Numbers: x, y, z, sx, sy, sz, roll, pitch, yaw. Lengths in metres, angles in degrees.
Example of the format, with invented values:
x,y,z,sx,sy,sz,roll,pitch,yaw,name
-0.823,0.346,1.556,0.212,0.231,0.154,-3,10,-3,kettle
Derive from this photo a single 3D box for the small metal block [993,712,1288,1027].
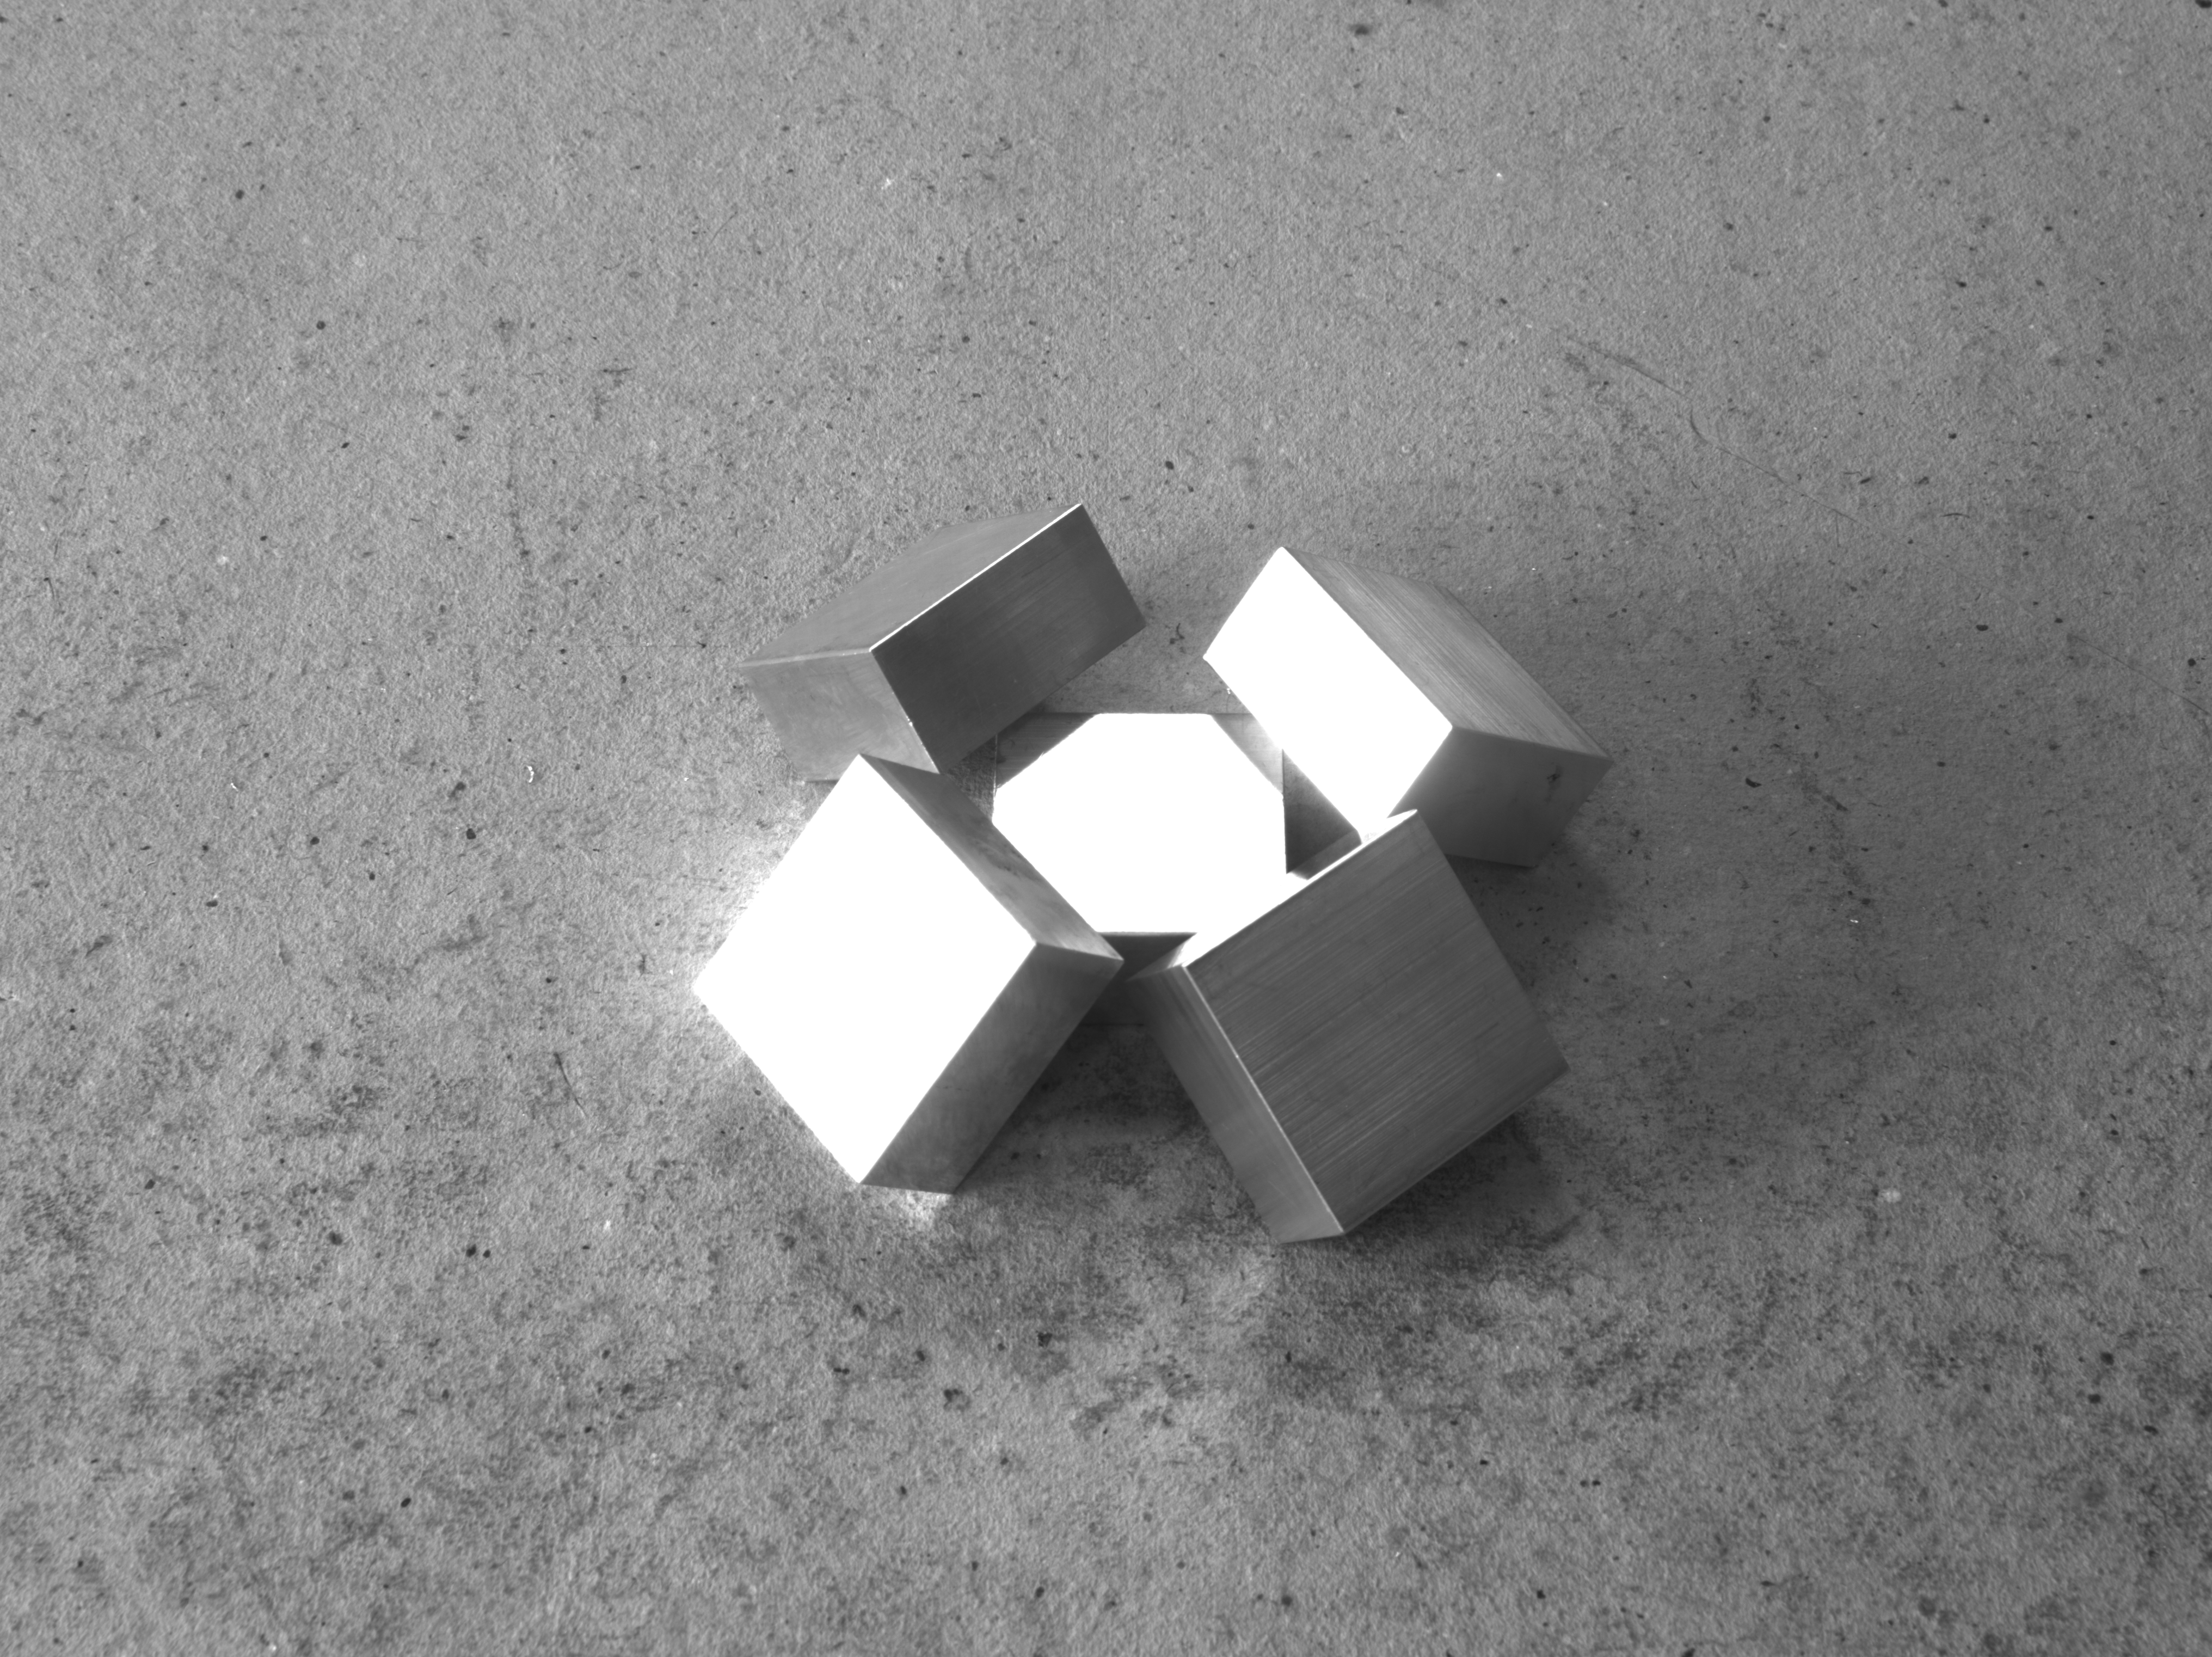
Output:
x,y,z,sx,sy,sz,roll,pitch,yaw,name
0.006,0.007,0.637,0.050,0.025,0.050,1,50,-1,small metal block

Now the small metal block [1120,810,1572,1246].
x,y,z,sx,sy,sz,roll,pitch,yaw,name
0.039,0.033,0.599,0.050,0.025,0.050,-33,95,-24,small metal block

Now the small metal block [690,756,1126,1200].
x,y,z,sx,sy,sz,roll,pitch,yaw,name
-0.033,0.025,0.605,0.050,0.025,0.050,45,107,31,small metal block

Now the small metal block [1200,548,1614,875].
x,y,z,sx,sy,sz,roll,pitch,yaw,name
0.053,-0.020,0.644,0.050,0.025,0.050,9,34,-50,small metal block

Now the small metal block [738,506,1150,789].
x,y,z,sx,sy,sz,roll,pitch,yaw,name
-0.029,-0.032,0.653,0.050,0.025,0.050,-37,17,-27,small metal block
